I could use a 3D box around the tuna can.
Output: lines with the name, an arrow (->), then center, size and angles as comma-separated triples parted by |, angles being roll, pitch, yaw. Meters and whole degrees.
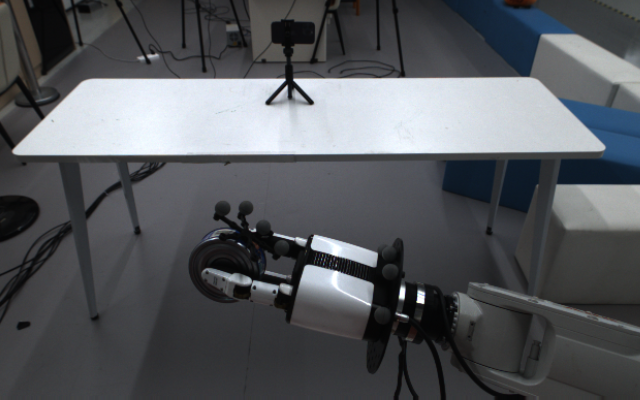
tuna can -> -0.106, 0.076, 0.566 | 0.085, 0.085, 0.034 | 6, 19, 6
